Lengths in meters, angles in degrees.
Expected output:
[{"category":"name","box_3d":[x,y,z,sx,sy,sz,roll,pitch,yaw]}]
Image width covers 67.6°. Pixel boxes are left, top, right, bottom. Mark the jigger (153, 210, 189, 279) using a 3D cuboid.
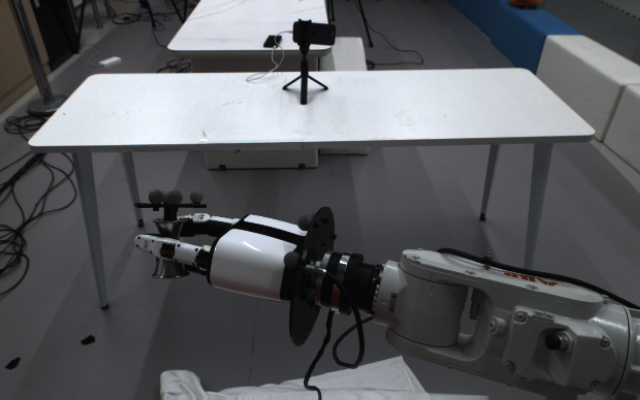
[{"category":"jigger","box_3d":[-0.180,0.057,0.590,0.043,0.071,0.043,0,3,0]}]
